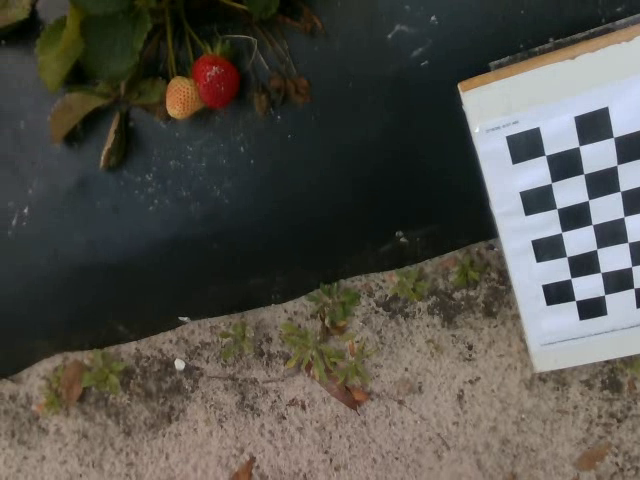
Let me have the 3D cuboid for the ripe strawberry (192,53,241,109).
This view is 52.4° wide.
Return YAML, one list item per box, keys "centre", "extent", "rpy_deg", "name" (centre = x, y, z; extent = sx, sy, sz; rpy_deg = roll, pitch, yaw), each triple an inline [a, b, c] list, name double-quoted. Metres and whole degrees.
- centre: [-0.072, -0.106, 0.436]
  extent: [0.034, 0.042, 0.033]
  rpy_deg: [12, -25, -1]
  name: "ripe strawberry"
